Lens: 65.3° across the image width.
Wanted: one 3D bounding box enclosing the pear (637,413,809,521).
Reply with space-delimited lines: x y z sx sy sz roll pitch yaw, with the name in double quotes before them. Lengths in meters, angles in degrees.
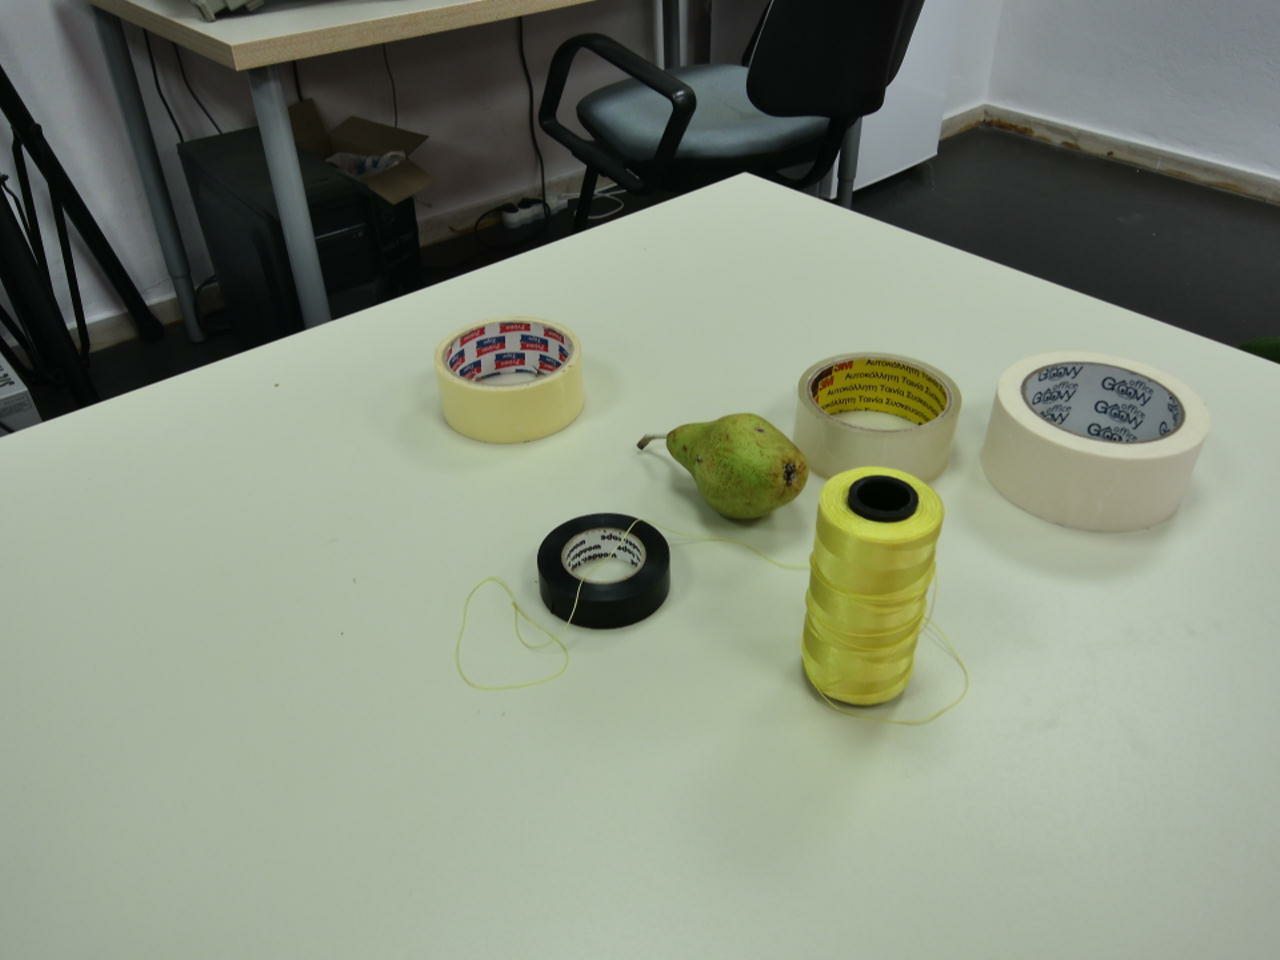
"pear" 0.047 -0.017 0.548 0.056 0.056 0.111 -16 38 -19
